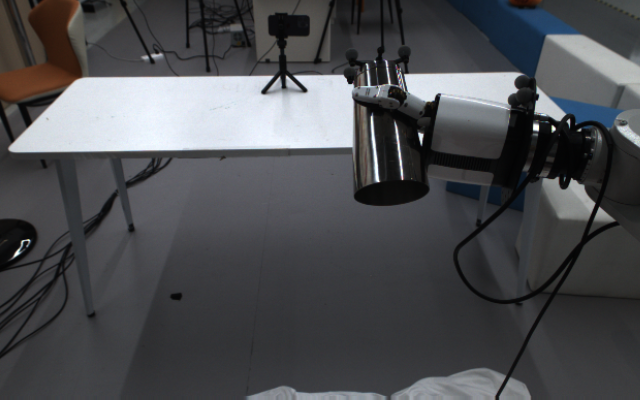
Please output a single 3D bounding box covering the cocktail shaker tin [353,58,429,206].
[{"bbox_3d":[0.083,-0.087,0.615,0.093,0.093,0.170,-2,71,-6],"label":"cocktail shaker tin"}]
